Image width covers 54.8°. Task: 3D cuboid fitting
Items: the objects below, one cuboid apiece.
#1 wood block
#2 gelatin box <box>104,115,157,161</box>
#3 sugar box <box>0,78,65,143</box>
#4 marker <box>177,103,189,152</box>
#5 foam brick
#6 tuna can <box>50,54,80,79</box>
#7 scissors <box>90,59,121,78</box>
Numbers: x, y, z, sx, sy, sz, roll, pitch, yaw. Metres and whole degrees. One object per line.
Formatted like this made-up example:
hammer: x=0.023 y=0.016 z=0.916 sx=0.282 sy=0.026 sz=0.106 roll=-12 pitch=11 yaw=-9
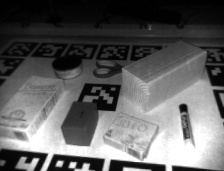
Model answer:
wood block: x=0.135 y=-0.026 z=0.553 sx=0.208 sy=0.091 sz=0.088 roll=-29 pitch=45 yaw=-26
gelatin box: x=0.039 y=0.105 z=0.451 sx=0.088 sy=0.030 sz=0.073 roll=16 pitch=46 yaw=23
sugar box: x=-0.193 y=0.052 z=0.527 sx=0.092 sy=0.045 sz=0.176 roll=6 pitch=42 yaw=12
marker: x=0.154 y=0.086 z=0.468 sx=0.019 sy=0.020 sz=0.121 roll=4 pitch=44 yaw=11
foam brick: x=-0.063 y=0.084 z=0.463 sx=0.052 sy=0.052 sz=0.078 roll=3 pitch=42 yaw=11
tuna can: x=-0.141 y=-0.057 z=0.649 sx=0.085 sy=0.034 sz=0.085 roll=-3 pitch=41 yaw=3
scissors: x=0.032 y=-0.046 z=0.639 sx=0.201 sy=0.016 sz=0.088 roll=6 pitch=42 yaw=15
